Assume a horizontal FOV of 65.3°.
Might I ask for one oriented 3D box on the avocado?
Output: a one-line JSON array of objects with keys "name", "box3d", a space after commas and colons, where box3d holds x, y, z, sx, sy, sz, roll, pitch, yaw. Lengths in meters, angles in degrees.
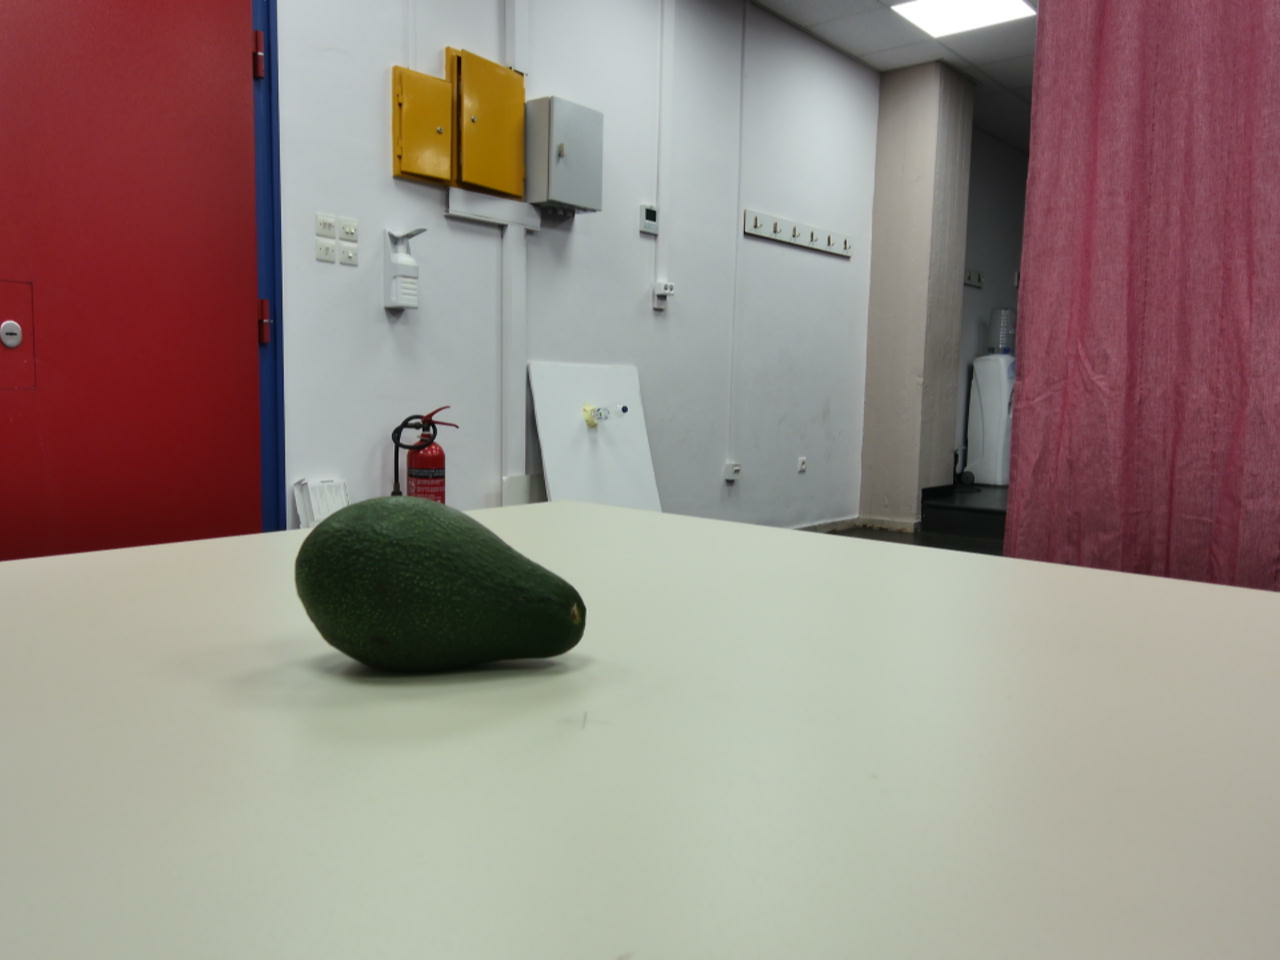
[{"name": "avocado", "box3d": [-0.083, 0.042, 0.406, 0.110, 0.071, 0.072, 1, 4, 17]}]
